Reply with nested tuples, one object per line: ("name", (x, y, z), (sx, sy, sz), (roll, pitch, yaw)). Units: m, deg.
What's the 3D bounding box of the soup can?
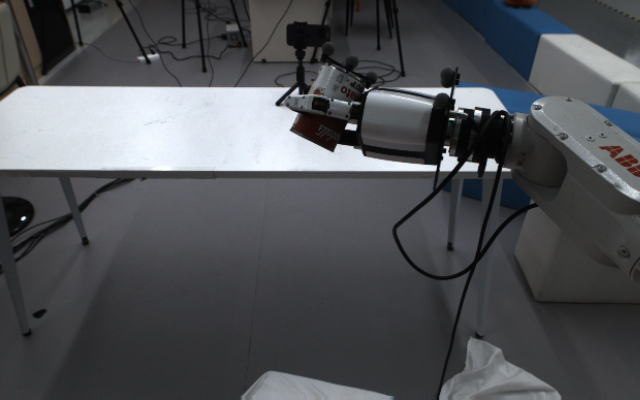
("soup can", (0.011, -0.124, 0.654), (0.067, 0.101, 0.067), (26, 6, -3))
